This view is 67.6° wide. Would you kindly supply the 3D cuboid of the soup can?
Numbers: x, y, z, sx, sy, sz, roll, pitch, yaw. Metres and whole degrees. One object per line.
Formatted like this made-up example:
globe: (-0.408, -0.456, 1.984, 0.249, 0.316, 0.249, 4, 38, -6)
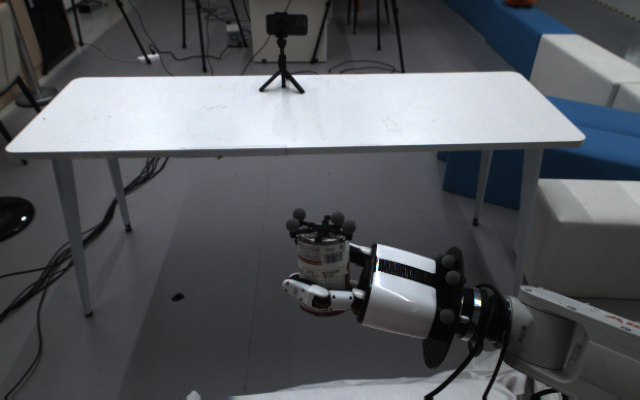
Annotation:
soup can: (0.007, 0.089, 0.623, 0.067, 0.101, 0.067, -1, 17, 0)
